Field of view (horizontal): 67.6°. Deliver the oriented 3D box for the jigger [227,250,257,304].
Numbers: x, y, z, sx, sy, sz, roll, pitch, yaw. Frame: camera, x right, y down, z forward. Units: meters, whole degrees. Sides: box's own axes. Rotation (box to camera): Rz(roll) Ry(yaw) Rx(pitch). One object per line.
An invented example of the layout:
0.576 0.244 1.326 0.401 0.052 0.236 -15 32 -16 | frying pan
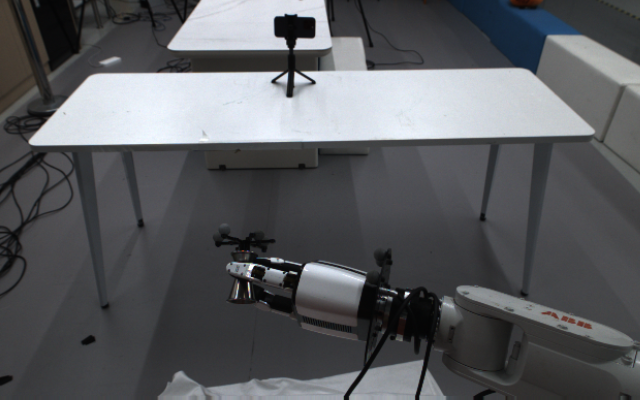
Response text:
-0.108 0.107 0.678 0.043 0.043 0.071 1 70 -2 | jigger
